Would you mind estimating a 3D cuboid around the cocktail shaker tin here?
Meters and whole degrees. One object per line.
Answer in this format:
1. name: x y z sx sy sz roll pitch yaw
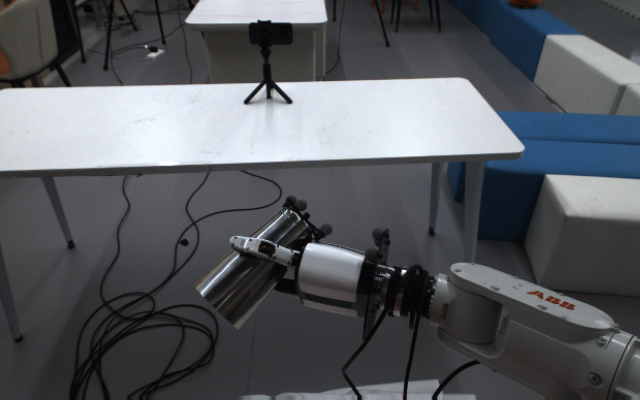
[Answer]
1. cocktail shaker tin: -0.089 0.088 0.701 0.170 0.093 0.093 -43 50 -14
